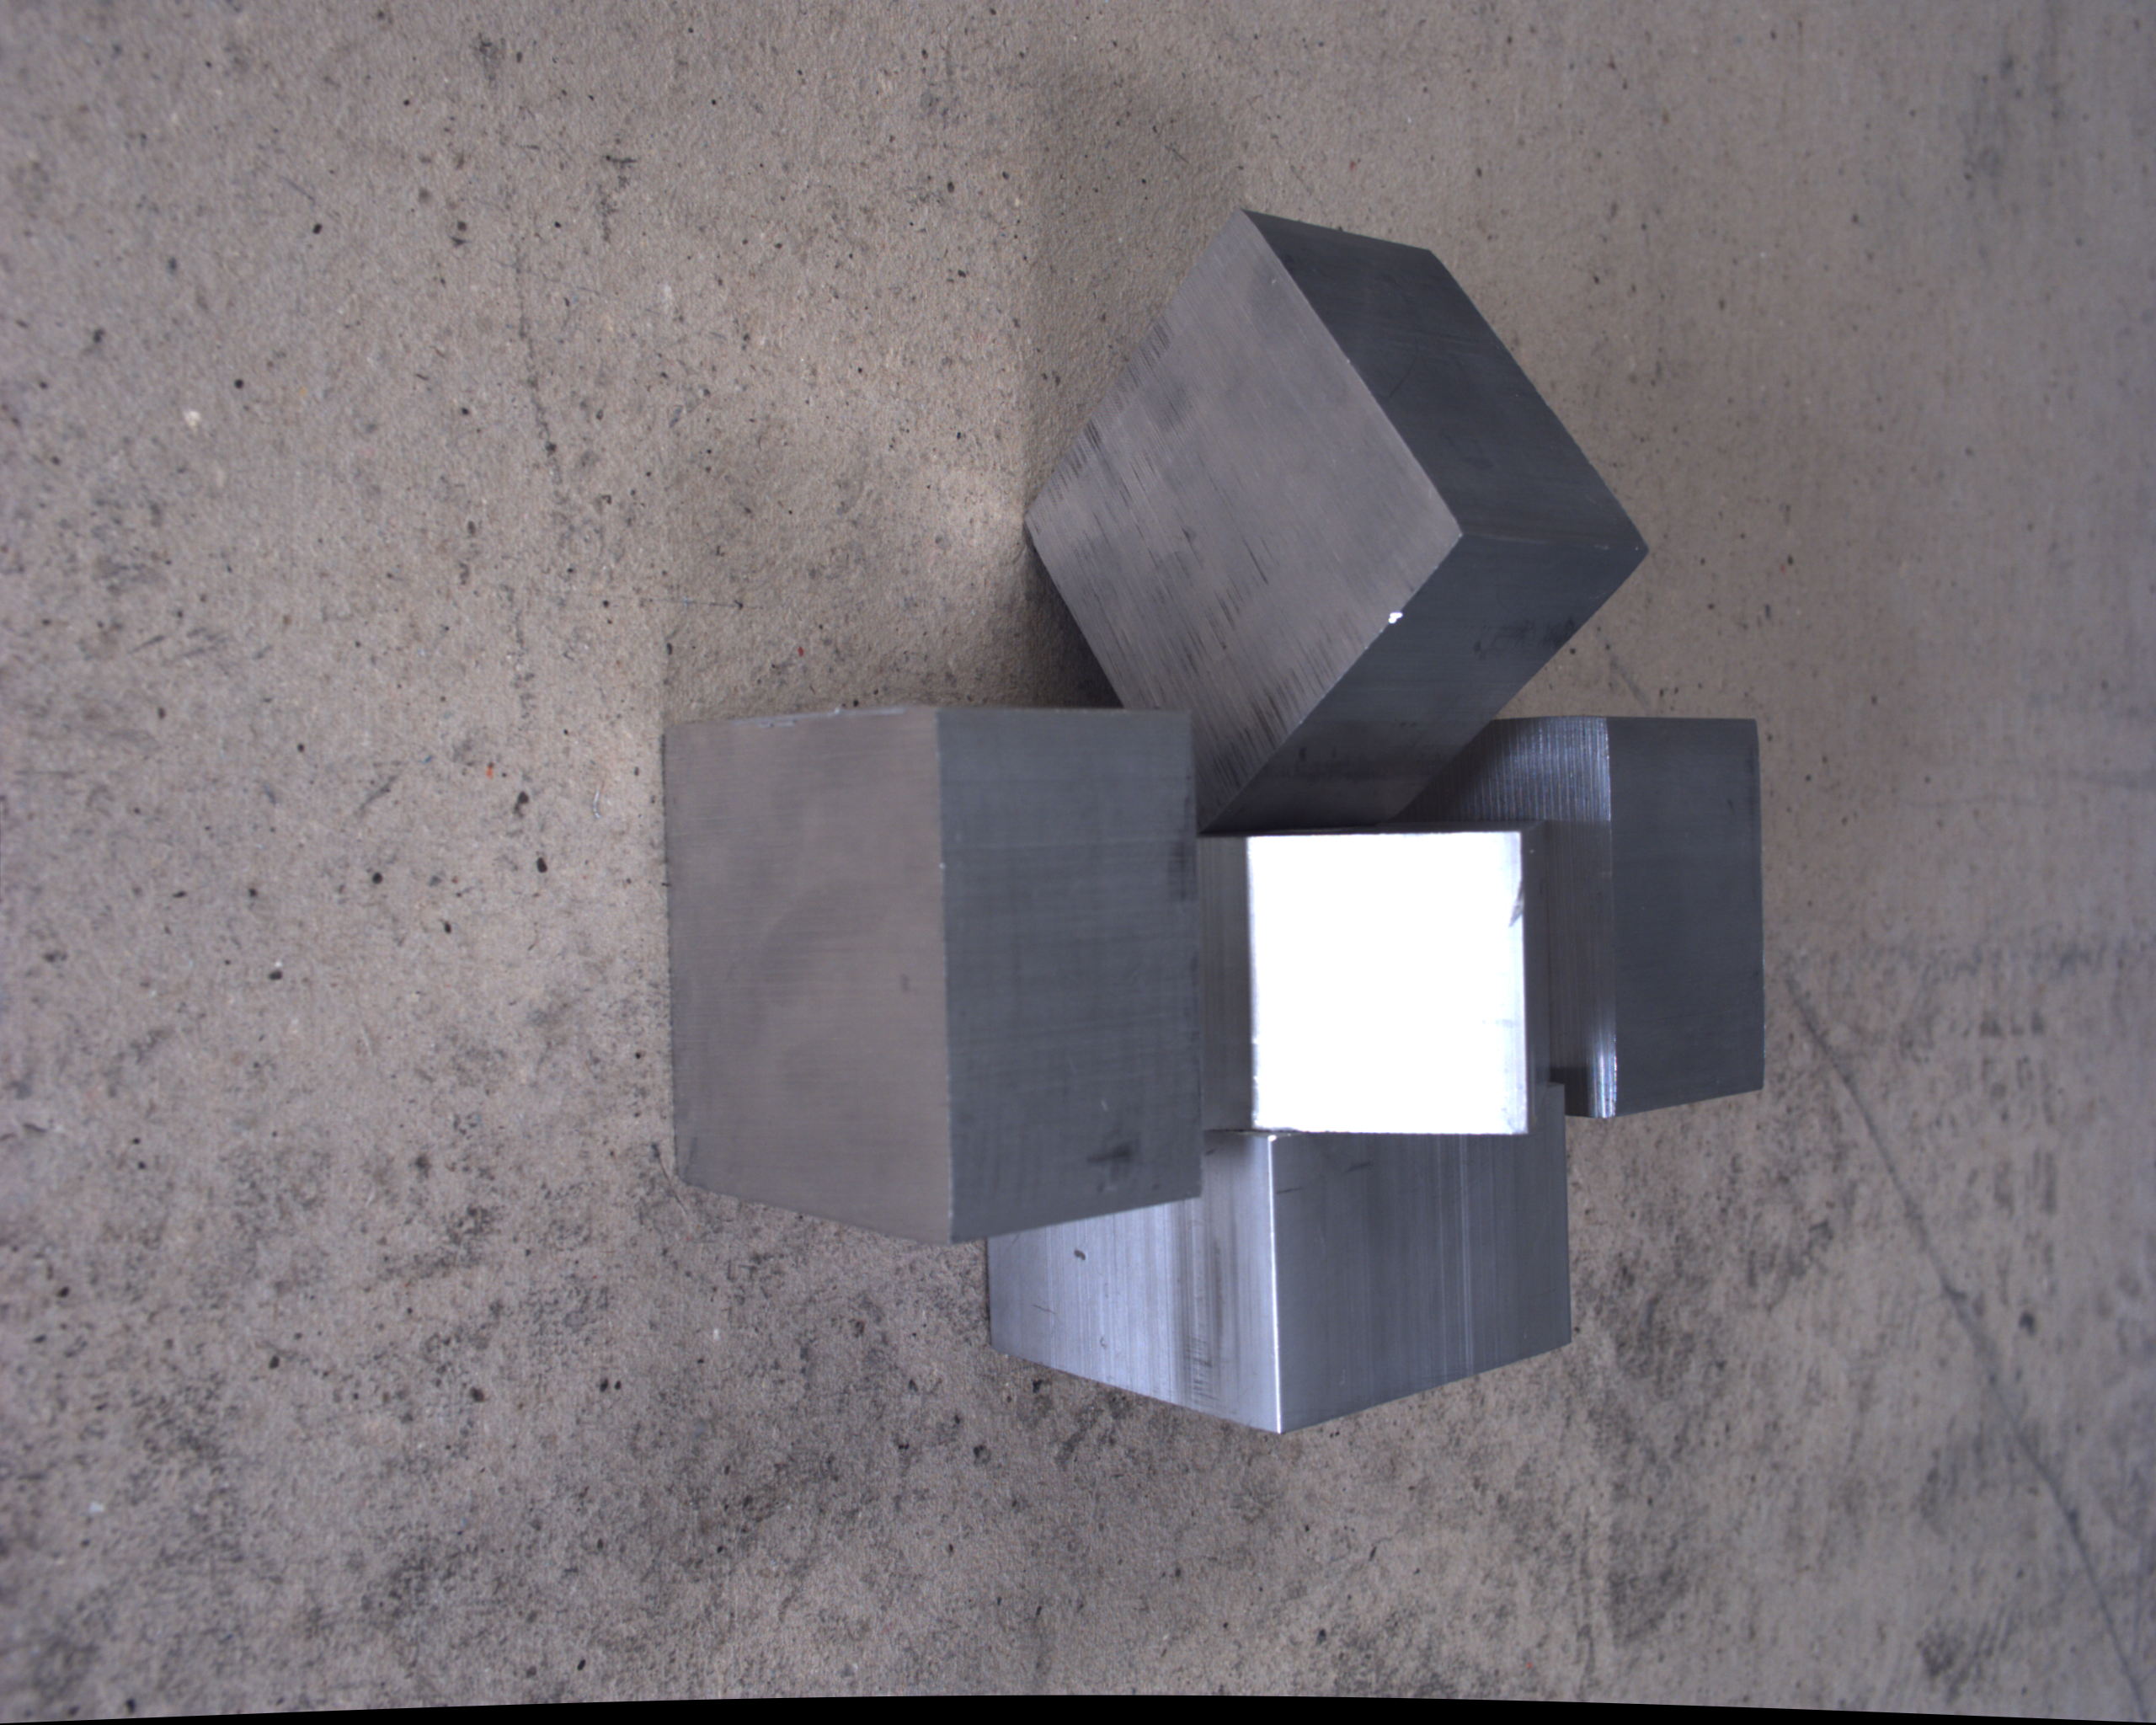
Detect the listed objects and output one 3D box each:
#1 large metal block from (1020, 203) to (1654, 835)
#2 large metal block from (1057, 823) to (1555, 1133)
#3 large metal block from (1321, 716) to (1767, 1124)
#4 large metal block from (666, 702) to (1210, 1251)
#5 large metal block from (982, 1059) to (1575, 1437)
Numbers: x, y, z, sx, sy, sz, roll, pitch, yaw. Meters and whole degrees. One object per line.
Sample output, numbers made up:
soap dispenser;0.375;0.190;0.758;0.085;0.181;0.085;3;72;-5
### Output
large metal block;0.044;-0.061;0.388;0.050;0.080;0.080;-4;55;-40
large metal block;0.046;0.019;0.390;0.080;0.080;0.050;-7;95;-75
large metal block;0.098;0.011;0.452;0.050;0.080;0.079;-3;91;-41
large metal block;-0.025;0.016;0.348;0.050;0.080;0.079;-3;92;-41
large metal block;0.038;0.069;0.403;0.081;0.080;0.050;-4;93;-40
